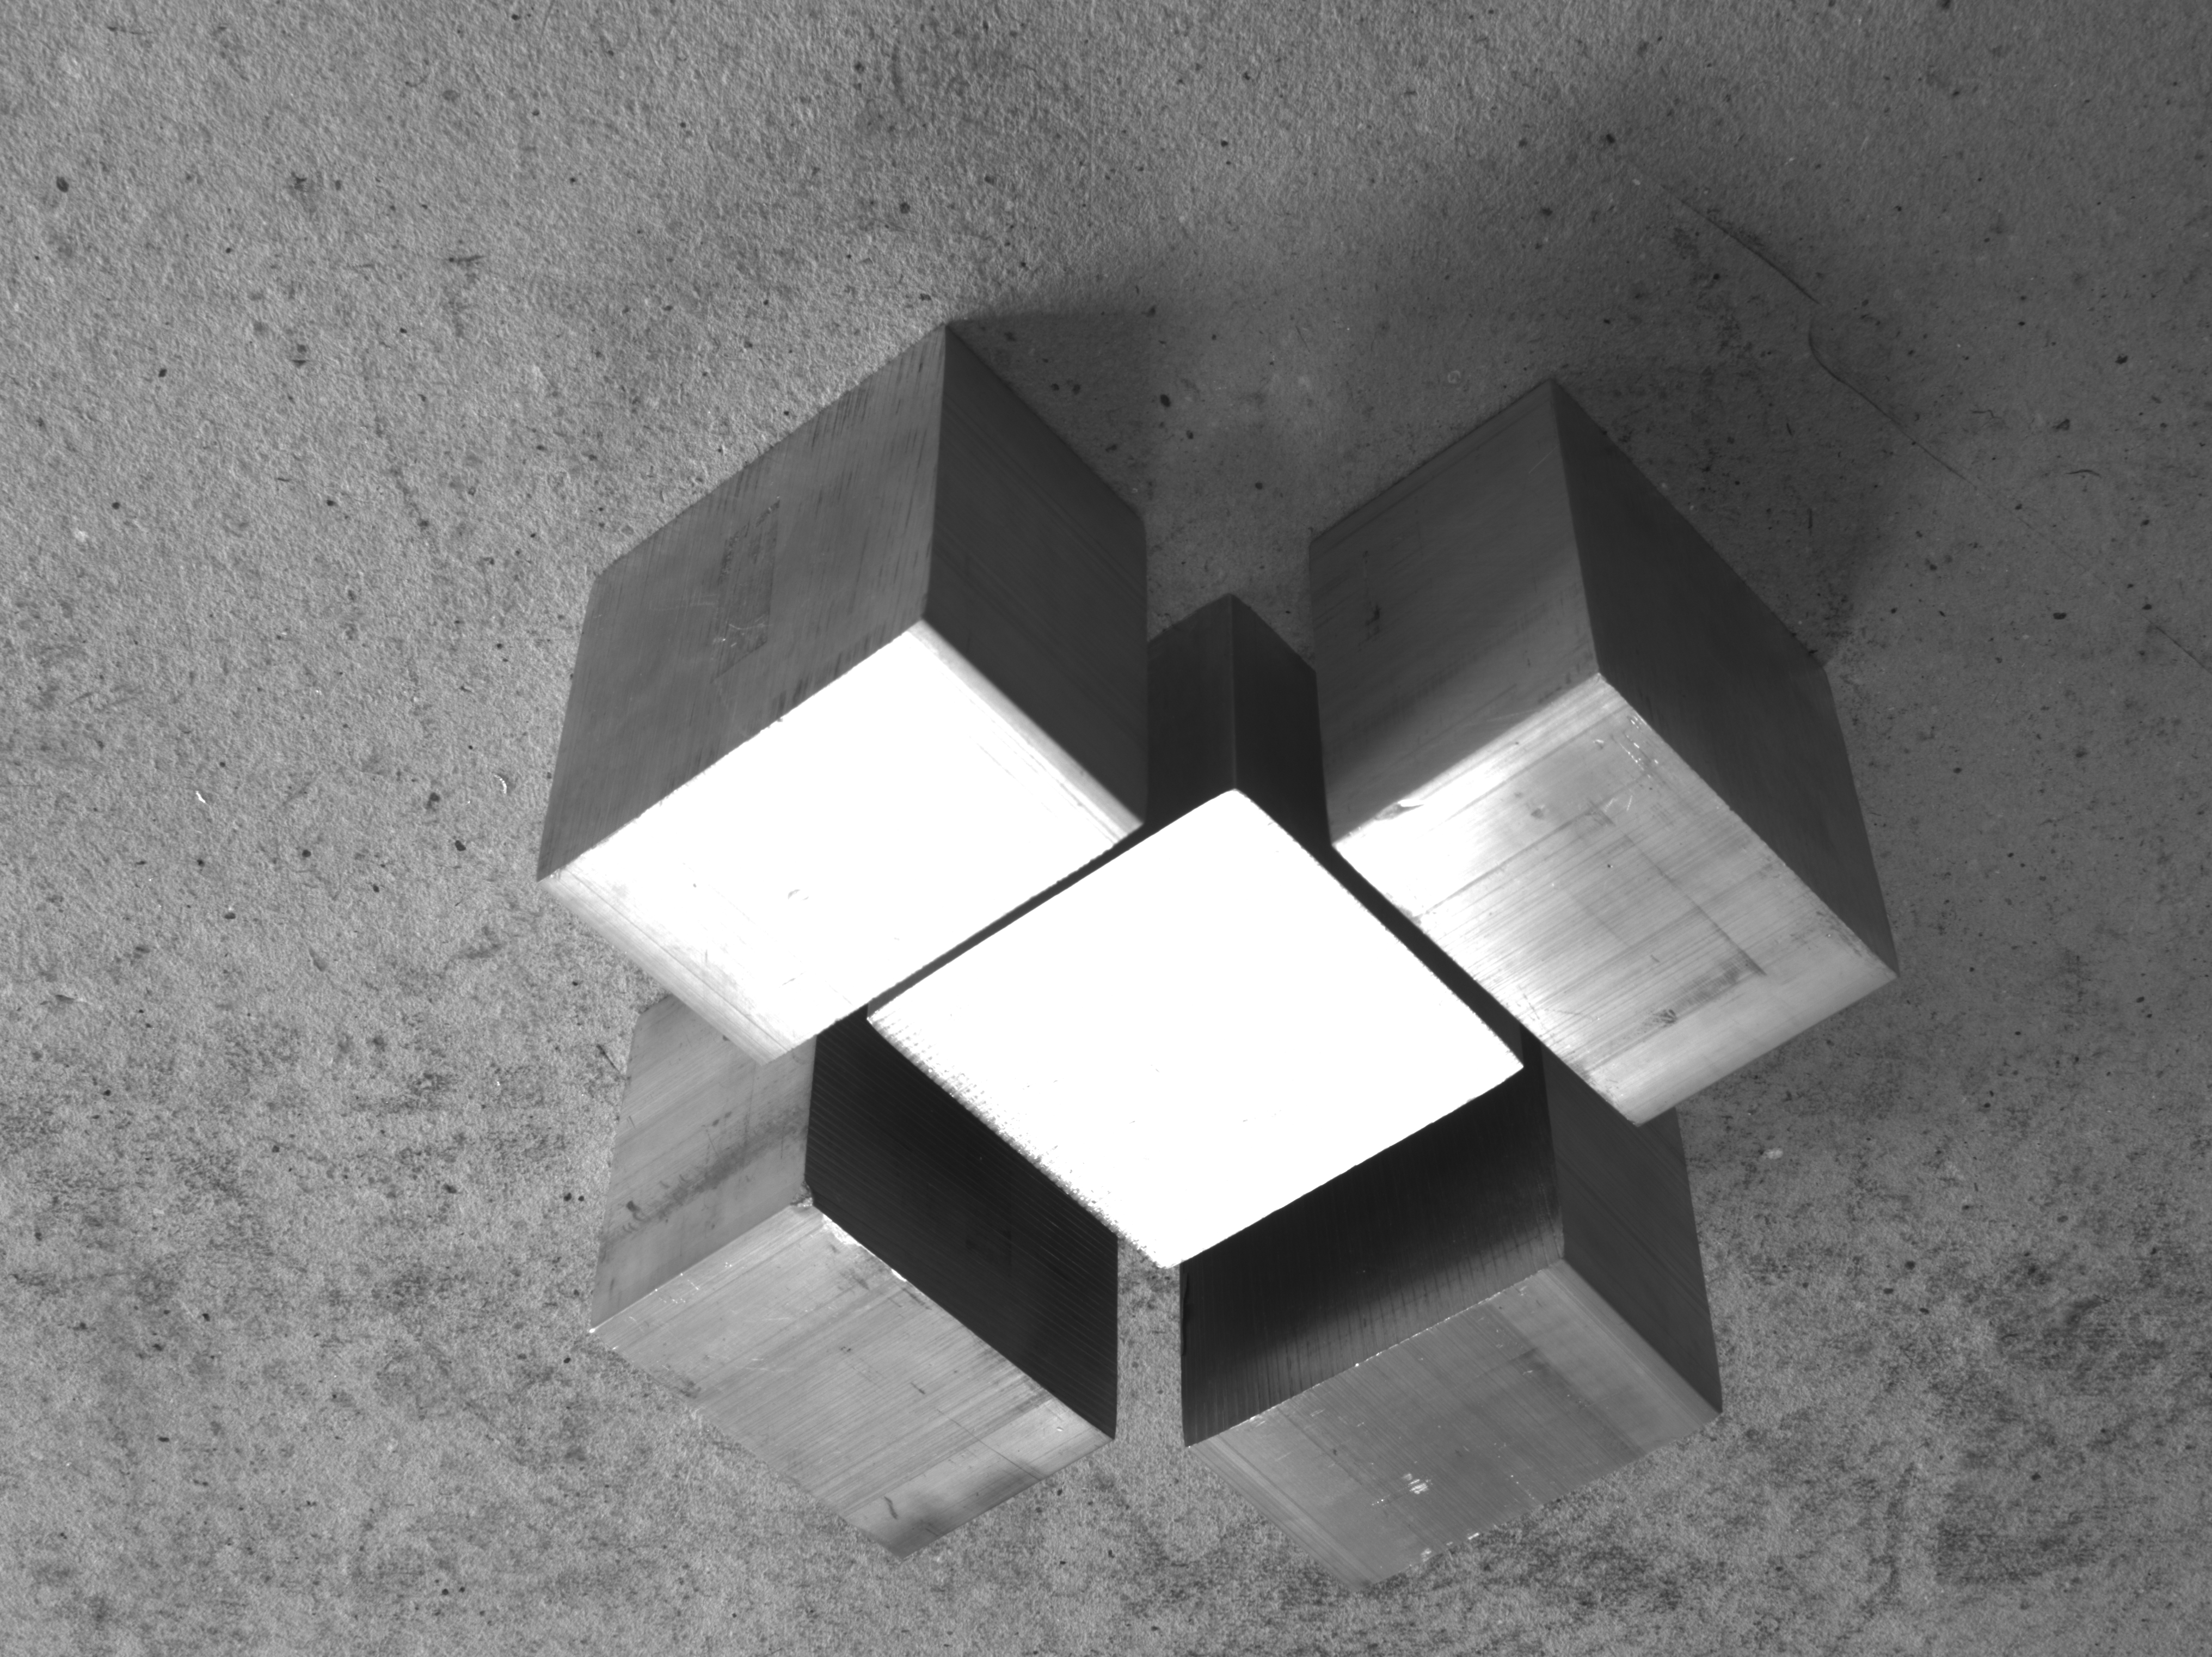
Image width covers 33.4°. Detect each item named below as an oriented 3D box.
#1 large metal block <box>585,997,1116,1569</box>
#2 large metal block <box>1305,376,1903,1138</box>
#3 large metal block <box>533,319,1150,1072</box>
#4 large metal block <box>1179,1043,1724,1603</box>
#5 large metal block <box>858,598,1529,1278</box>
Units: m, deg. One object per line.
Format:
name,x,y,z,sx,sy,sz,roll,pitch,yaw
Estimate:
large metal block,-0.043,0.071,0.663,0.050,0.080,0.080,-33,123,24
large metal block,0.078,-0.012,0.594,0.050,0.080,0.080,-34,122,24
large metal block,-0.040,-0.021,0.586,0.080,0.080,0.050,-33,122,24
large metal block,0.060,0.081,0.670,0.080,0.080,0.050,-31,123,23
large metal block,0.015,0.021,0.637,0.080,0.050,0.080,-32,123,24
